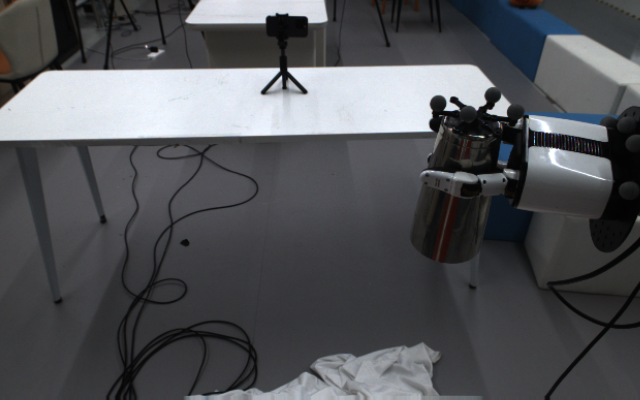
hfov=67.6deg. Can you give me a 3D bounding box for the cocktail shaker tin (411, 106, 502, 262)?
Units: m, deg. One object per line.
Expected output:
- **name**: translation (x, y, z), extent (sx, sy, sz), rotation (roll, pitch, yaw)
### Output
- **cocktail shaker tin**: translation (0.169, -0.020, 0.581), extent (0.093, 0.170, 0.093), rotation (1, 39, -1)
